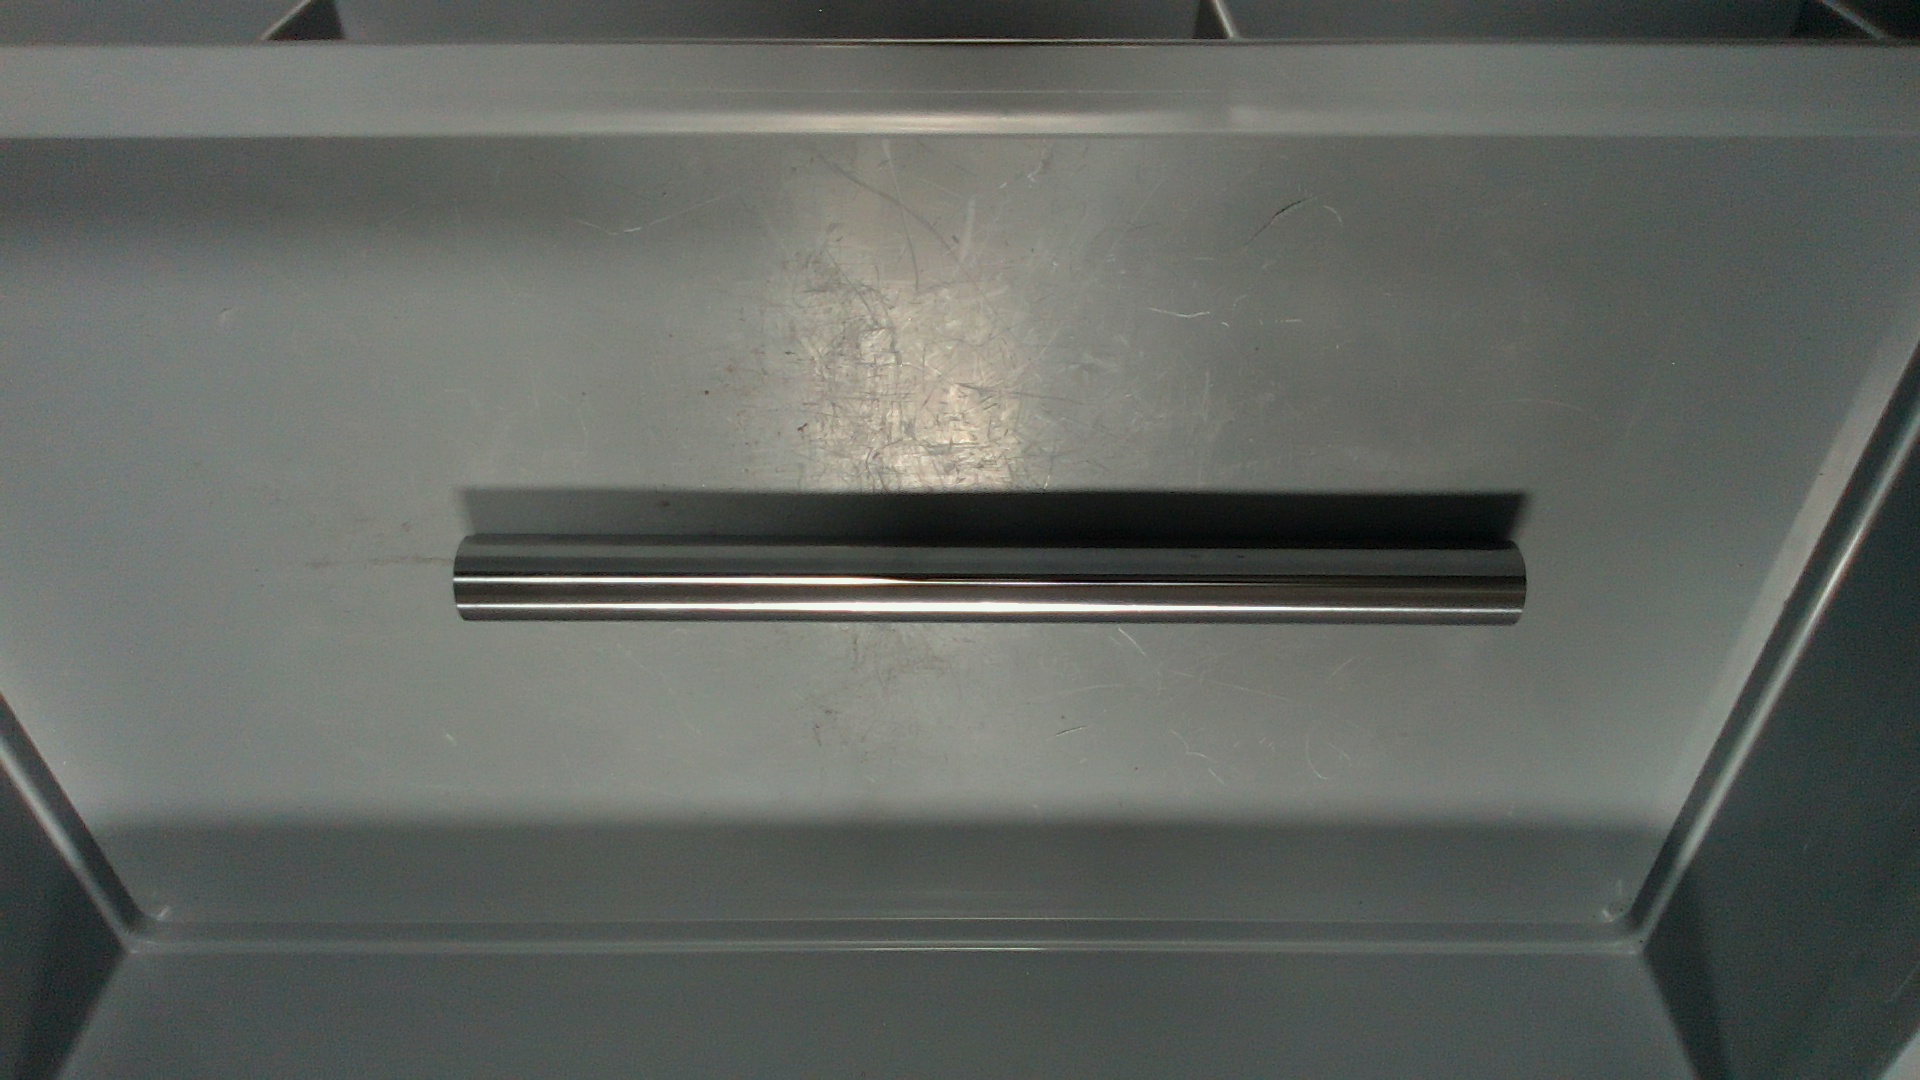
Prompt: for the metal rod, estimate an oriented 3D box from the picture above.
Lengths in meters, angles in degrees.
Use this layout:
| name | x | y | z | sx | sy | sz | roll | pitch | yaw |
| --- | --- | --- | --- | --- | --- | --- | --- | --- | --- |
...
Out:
| name | x | y | z | sx | sy | sz | roll | pitch | yaw |
| --- | --- | --- | --- | --- | --- | --- | --- | --- | --- |
| metal rod | 0.009 | 0.011 | 0.398 | 0.300 | 0.025 | 0.025 | 0 | 130 | 0 |
